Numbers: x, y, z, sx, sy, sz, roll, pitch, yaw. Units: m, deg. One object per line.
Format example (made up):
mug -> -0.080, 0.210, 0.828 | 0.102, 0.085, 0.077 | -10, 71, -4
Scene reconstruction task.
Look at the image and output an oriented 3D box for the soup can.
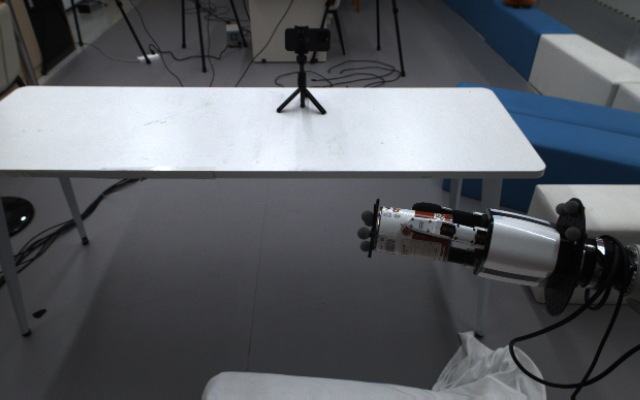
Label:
soup can -> 0.134, 0.047, 0.688 | 0.101, 0.067, 0.067 | 7, 35, 10
